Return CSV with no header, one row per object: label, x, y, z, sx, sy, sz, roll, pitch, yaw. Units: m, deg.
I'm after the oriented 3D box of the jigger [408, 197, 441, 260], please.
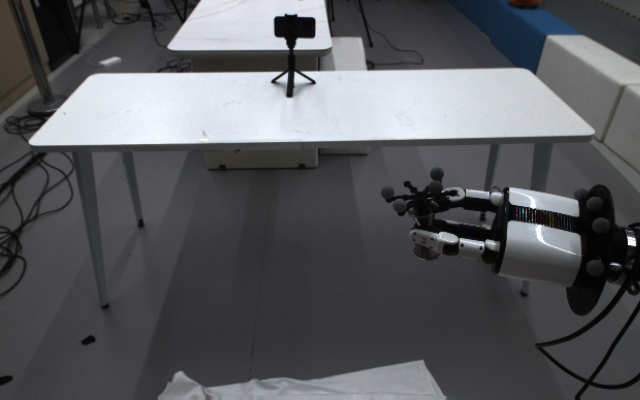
jigger,0.139,0.039,0.632,0.043,0.071,0.043,-12,29,7
